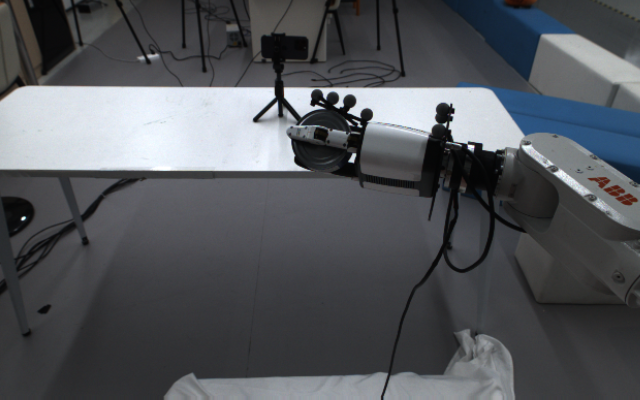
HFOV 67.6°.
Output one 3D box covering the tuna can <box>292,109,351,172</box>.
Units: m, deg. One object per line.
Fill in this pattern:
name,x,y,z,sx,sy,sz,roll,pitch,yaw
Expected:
tuna can,0.006,-0.085,0.683,0.085,0.085,0.034,13,-6,16
